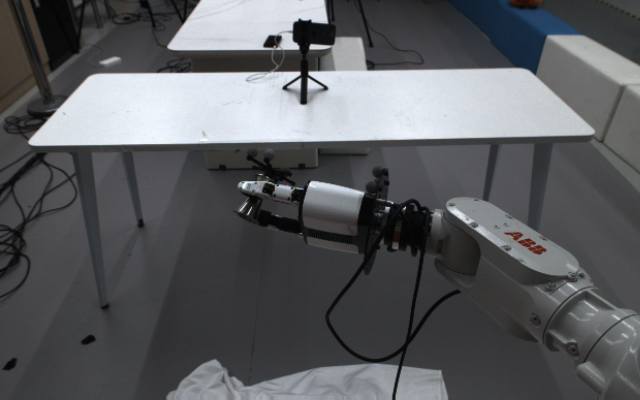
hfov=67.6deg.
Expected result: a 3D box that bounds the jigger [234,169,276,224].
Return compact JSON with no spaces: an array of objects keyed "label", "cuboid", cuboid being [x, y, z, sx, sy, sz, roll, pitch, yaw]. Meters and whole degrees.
[{"label":"jigger","cuboid":[-0.100,-0.005,0.744,0.043,0.043,0.071,20,74,24]}]
